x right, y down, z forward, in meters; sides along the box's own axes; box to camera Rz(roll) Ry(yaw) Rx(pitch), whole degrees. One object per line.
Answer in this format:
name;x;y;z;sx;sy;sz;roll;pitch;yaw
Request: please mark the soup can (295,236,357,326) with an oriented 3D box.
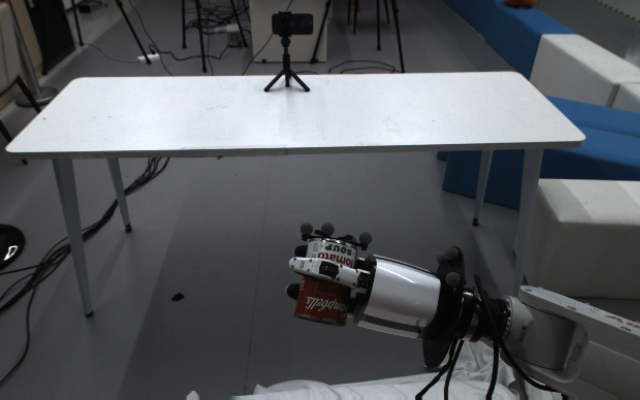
soup can;0.010;0.106;0.624;0.067;0.067;0.101;8;71;9
